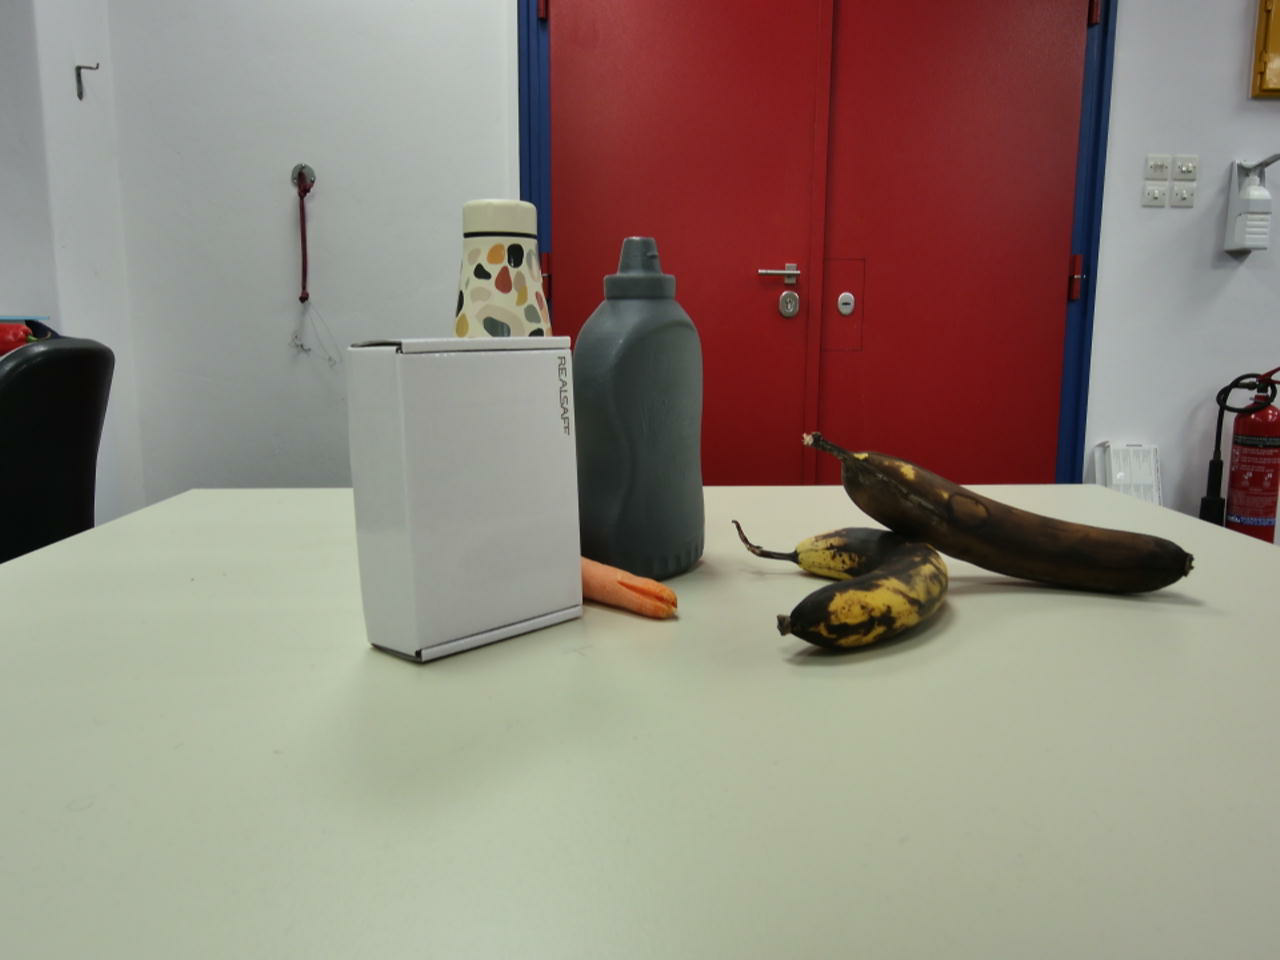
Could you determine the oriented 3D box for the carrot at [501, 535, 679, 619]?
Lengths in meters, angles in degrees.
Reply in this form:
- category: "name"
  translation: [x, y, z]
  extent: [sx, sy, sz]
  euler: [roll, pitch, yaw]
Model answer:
- category: "carrot"
  translation: [-0.031, 0.053, 0.572]
  extent: [0.136, 0.032, 0.030]
  euler: [7, 9, 44]
